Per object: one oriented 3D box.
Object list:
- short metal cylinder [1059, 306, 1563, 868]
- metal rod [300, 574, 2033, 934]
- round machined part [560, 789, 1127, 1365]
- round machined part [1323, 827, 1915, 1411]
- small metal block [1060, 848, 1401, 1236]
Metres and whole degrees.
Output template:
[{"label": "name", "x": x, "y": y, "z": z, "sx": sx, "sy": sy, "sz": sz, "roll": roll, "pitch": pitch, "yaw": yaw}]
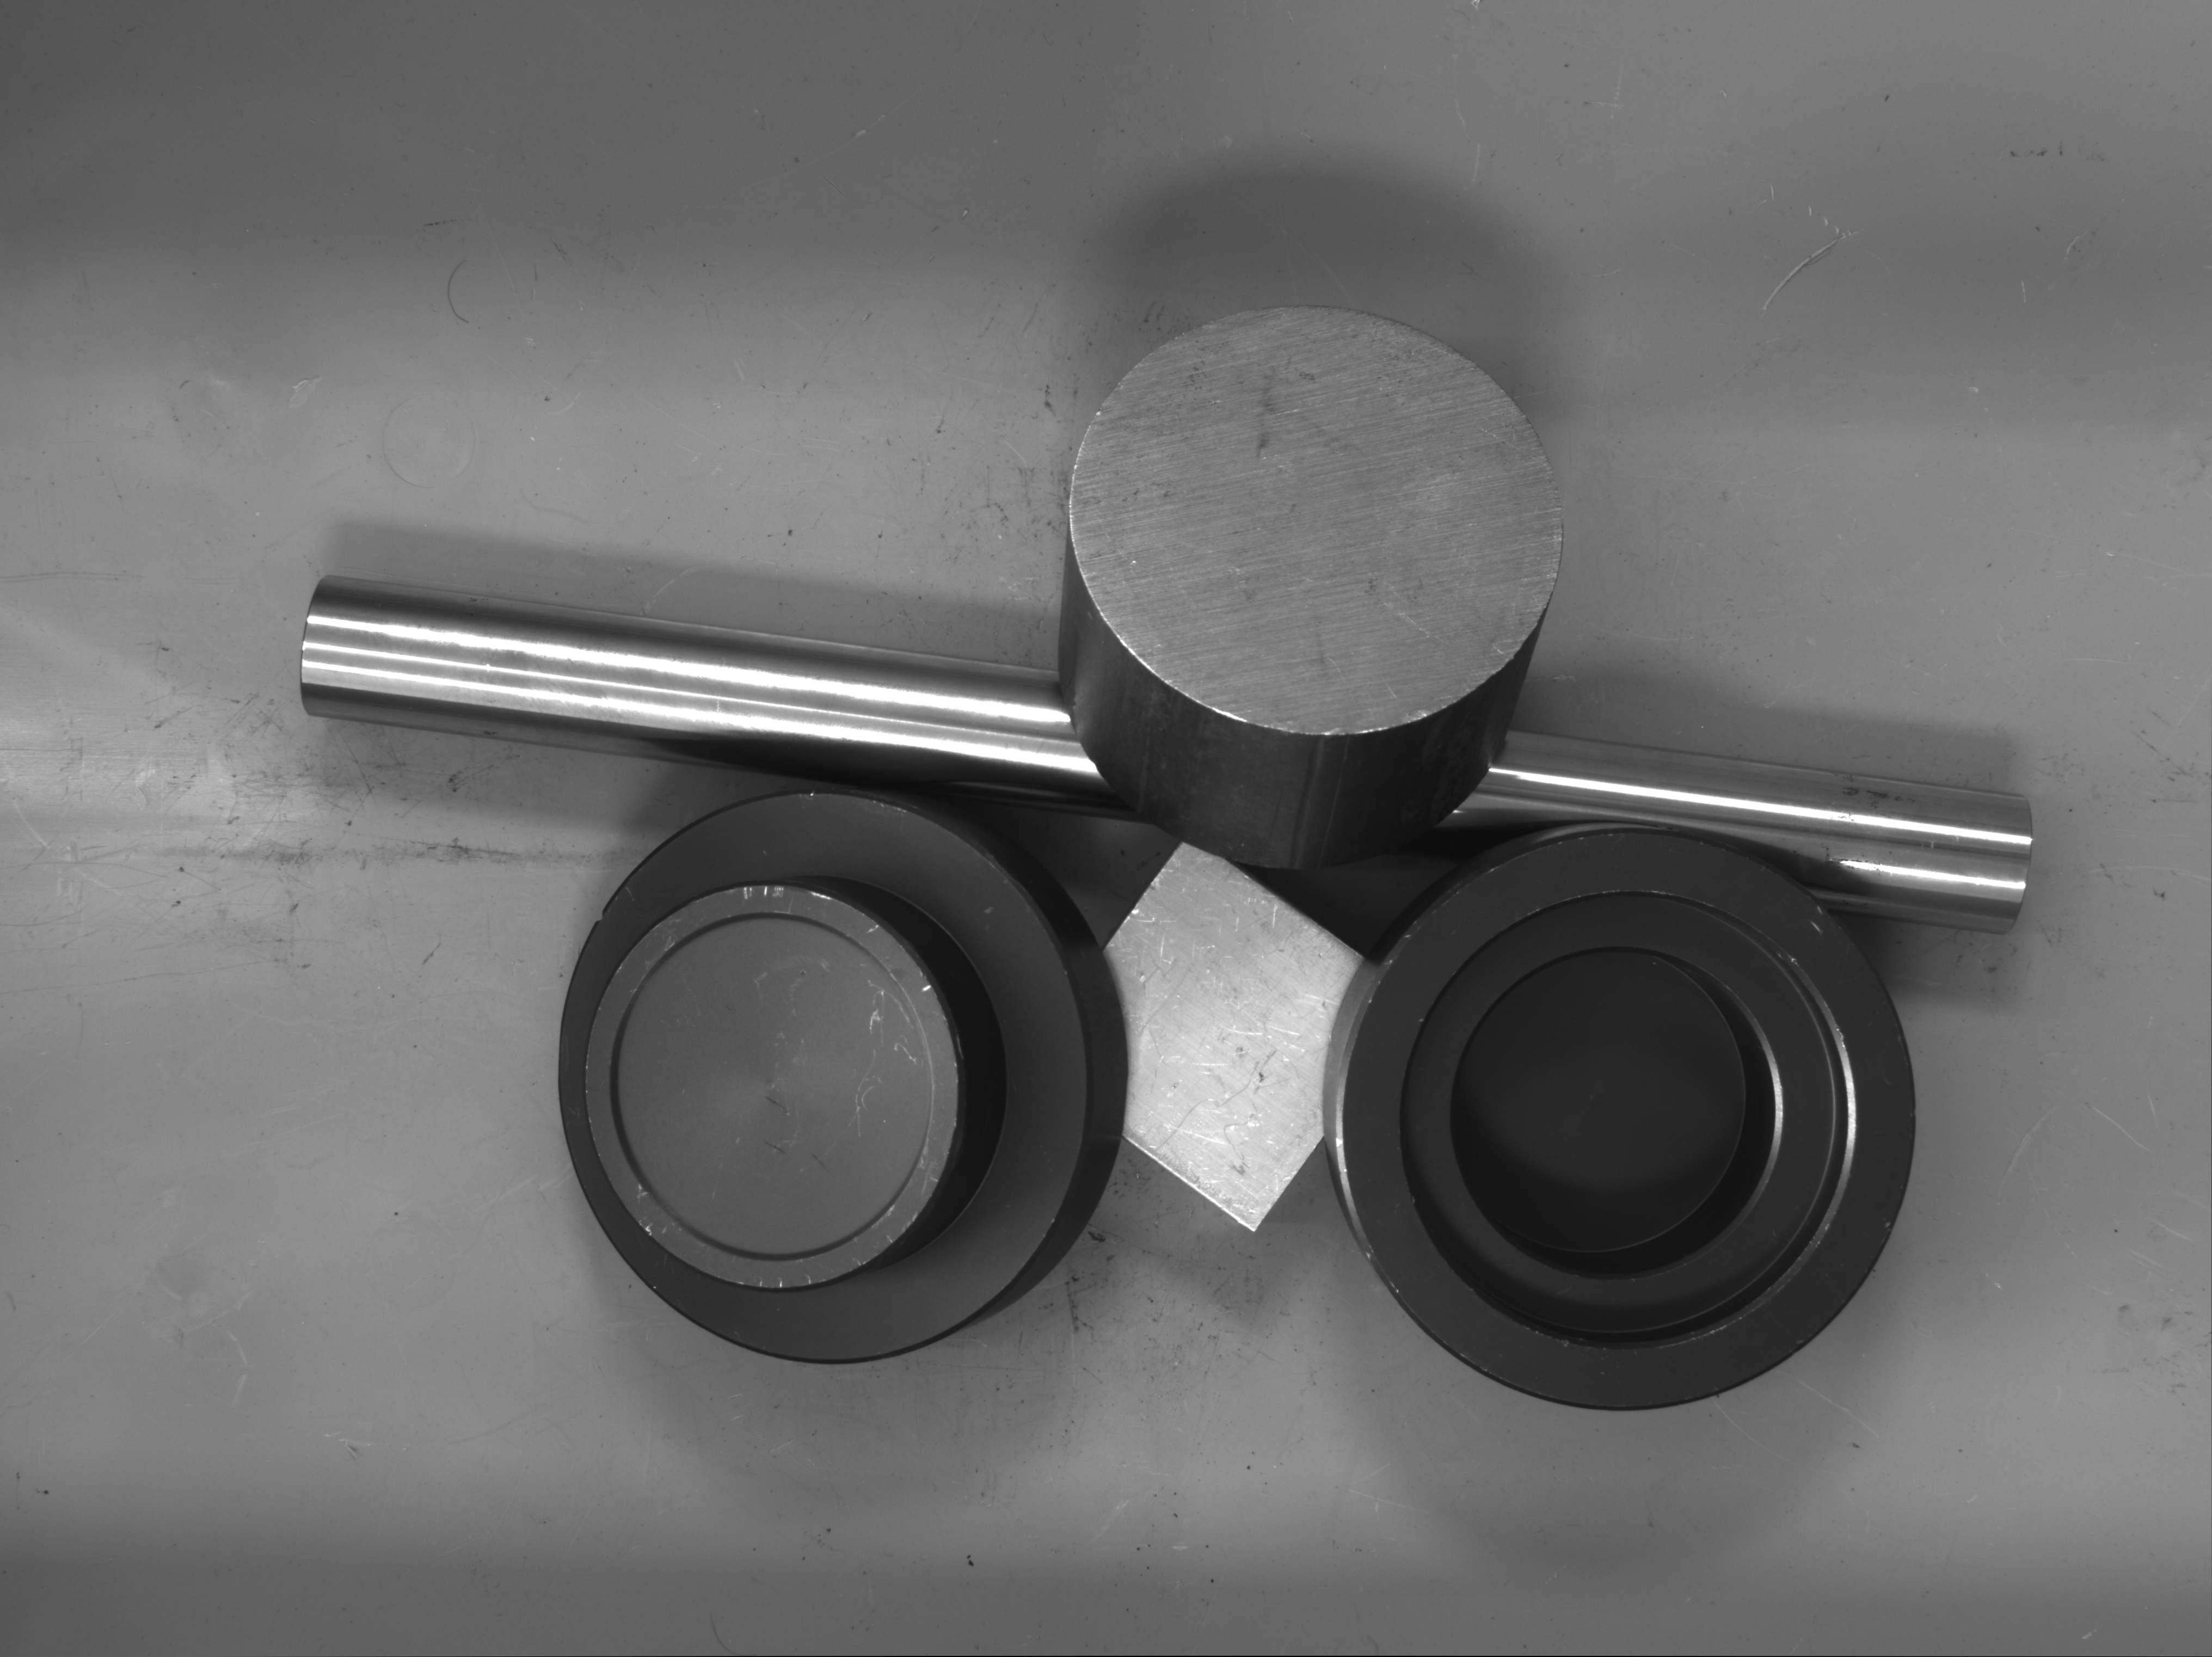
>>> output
[{"label": "short metal cylinder", "x": 0.033, "y": -0.040, "z": 0.617, "sx": 0.080, "sy": 0.050, "sz": 0.080, "roll": 1, "pitch": 64, "yaw": -3}, {"label": "metal rod", "x": 0.010, "y": -0.013, "z": 0.645, "sx": 0.300, "sy": 0.025, "sz": 0.025, "roll": 7, "pitch": 90, "yaw": 0}, {"label": "round machined part", "x": -0.049, "y": 0.042, "z": 0.623, "sx": 0.098, "sy": 0.042, "sz": 0.098, "roll": 0, "pitch": 91, "yaw": 18}, {"label": "round machined part", "x": 0.086, "y": 0.048, "z": 0.634, "sx": 0.098, "sy": 0.042, "sz": 0.098, "roll": 0, "pitch": 92, "yaw": -3}, {"label": "small metal block", "x": 0.020, "y": 0.035, "z": 0.644, "sx": 0.050, "sy": 0.025, "sz": 0.050, "roll": 36, "pitch": 90, "yaw": 0}]
